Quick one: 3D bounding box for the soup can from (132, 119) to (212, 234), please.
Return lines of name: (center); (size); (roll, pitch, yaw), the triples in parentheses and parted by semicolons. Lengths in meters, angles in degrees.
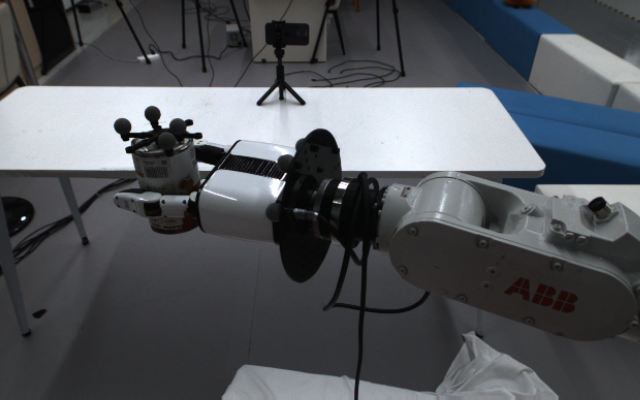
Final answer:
soup can: (-0.168, -0.020, 0.548); (0.067, 0.101, 0.067); (-1, 32, 0)
